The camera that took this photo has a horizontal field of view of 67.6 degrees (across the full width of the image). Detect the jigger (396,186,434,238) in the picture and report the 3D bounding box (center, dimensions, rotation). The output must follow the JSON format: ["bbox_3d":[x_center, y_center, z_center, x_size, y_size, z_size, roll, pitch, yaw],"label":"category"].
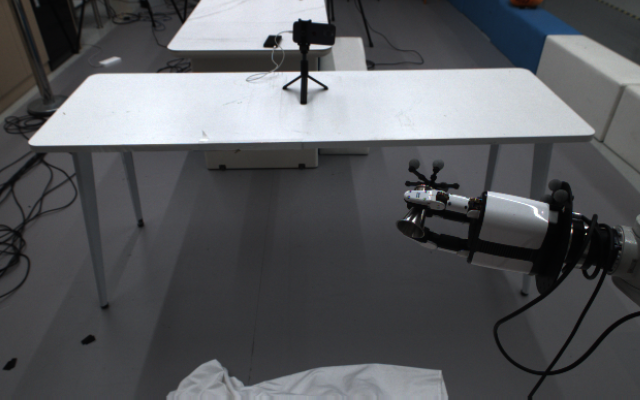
[{"bbox_3d":[0.143,0.012,0.708,0.043,0.043,0.071,20,61,24],"label":"jigger"}]
